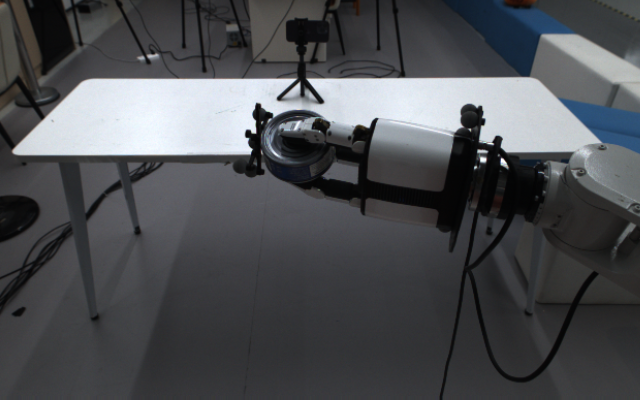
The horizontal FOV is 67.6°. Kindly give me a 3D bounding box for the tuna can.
[{"bbox_3d":[-0.022,-0.061,0.562,0.085,0.034,0.085,-2,58,3],"label":"tuna can"}]
